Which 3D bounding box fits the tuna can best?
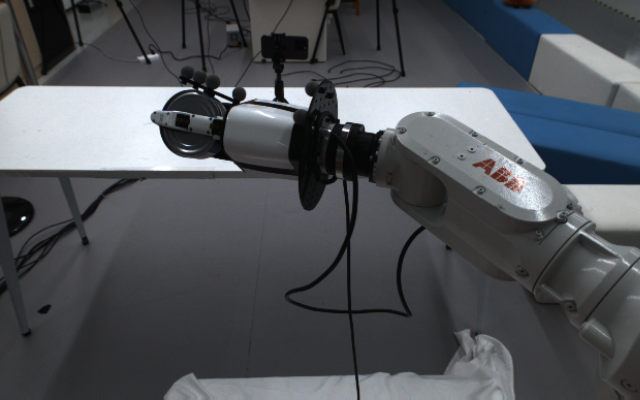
[{"bbox_3d":[-0.158,-0.096,0.621,0.085,0.085,0.034,13,3,16],"label":"tuna can"}]
